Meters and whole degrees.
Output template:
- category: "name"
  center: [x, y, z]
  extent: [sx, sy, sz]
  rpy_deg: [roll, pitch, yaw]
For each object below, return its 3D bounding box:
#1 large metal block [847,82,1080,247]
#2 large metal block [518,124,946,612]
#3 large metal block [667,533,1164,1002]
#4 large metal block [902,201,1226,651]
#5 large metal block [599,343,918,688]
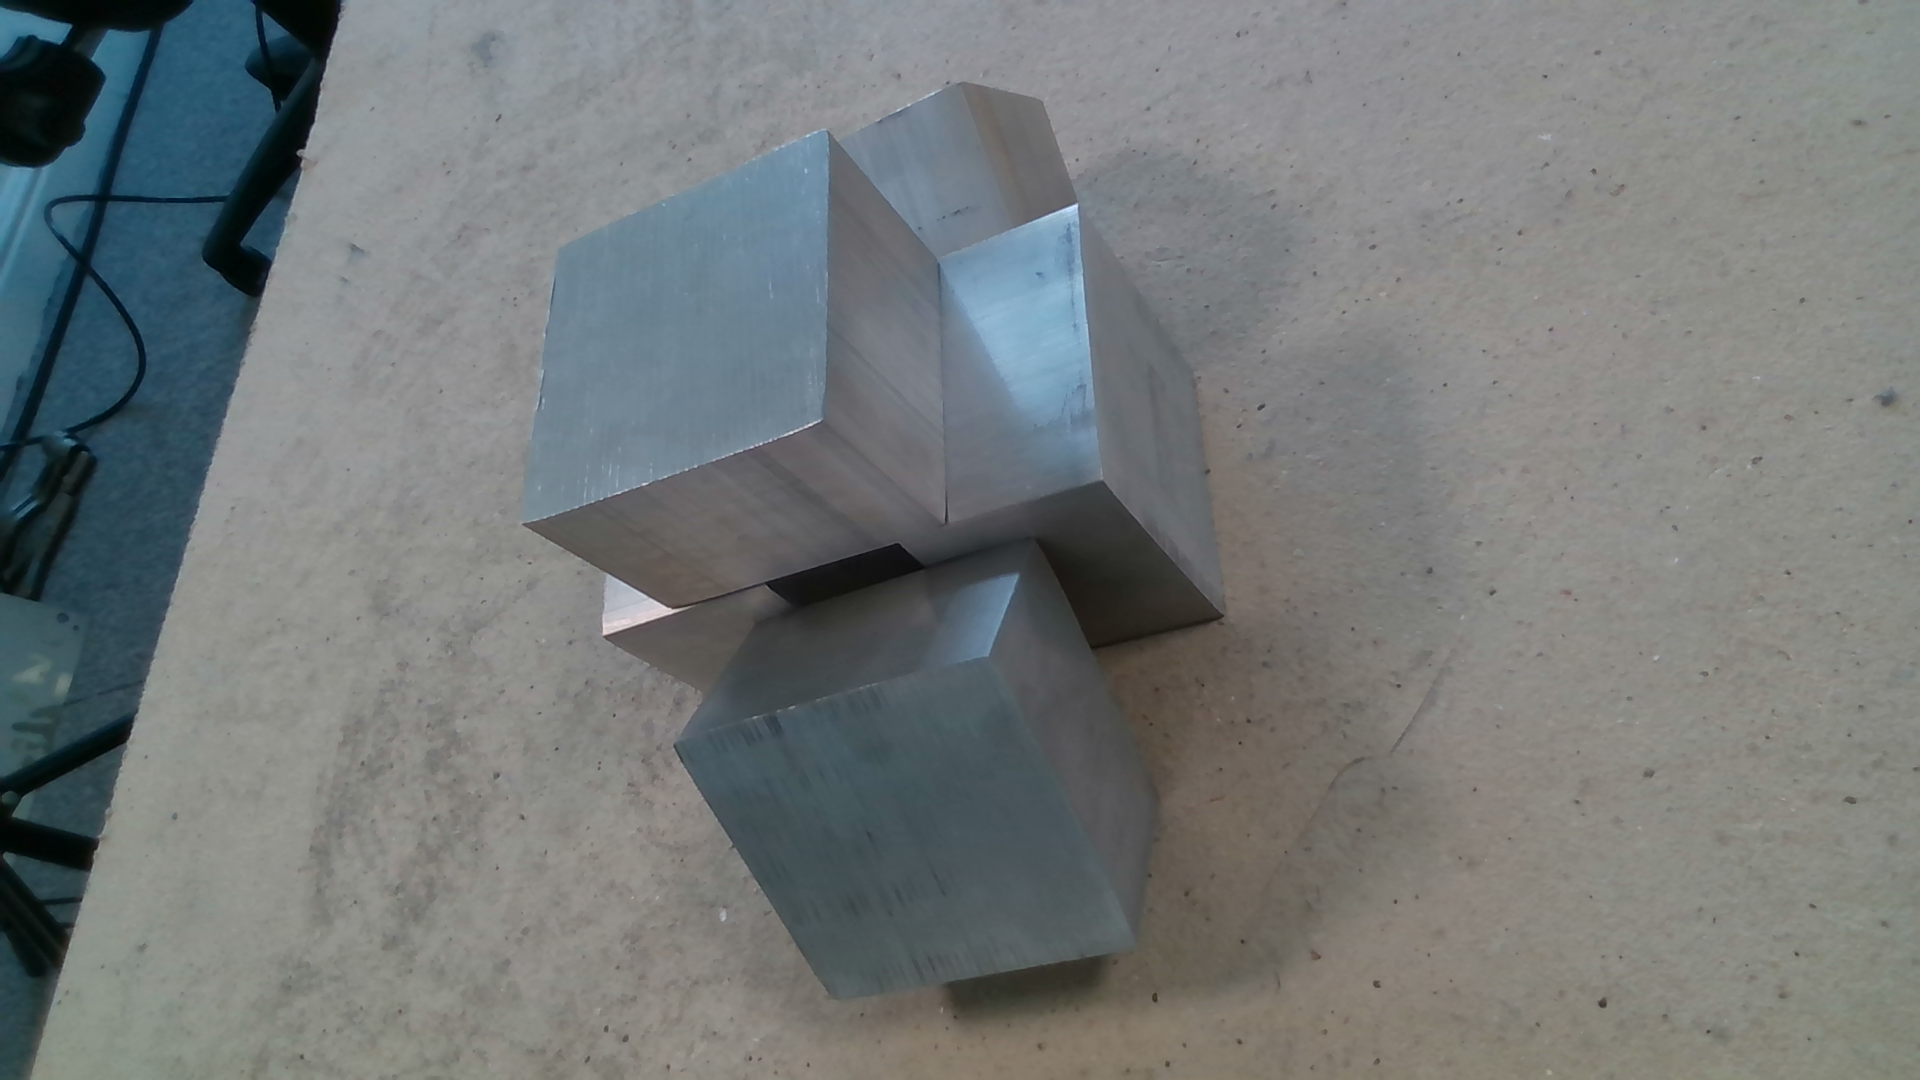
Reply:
- category: "large metal block"
  center: [-0.014, -0.091, 0.406]
  extent: [0.080, 0.080, 0.050]
  rpy_deg: [-18, 97, 23]
- category: "large metal block"
  center: [-0.052, -0.038, 0.325]
  extent: [0.080, 0.050, 0.080]
  rpy_deg: [-16, 58, 24]
- category: "large metal block"
  center: [-0.007, 0.055, 0.323]
  extent: [0.080, 0.080, 0.050]
  rpy_deg: [-18, 23, 23]
- category: "large metal block"
  center: [0.026, -0.024, 0.355]
  extent: [0.050, 0.080, 0.080]
  rpy_deg: [-16, 58, 24]
- category: "large metal block"
  center: [-0.053, 0.000, 0.392]
  extent: [0.050, 0.080, 0.080]
  rpy_deg: [-18, 57, 23]
